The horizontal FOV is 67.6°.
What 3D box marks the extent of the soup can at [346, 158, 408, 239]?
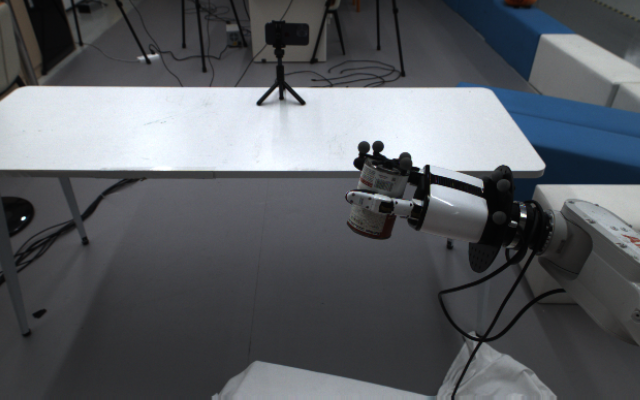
[{"bbox_3d":[0.084,-0.003,0.700,0.067,0.101,0.067,13,18,-4],"label":"soup can"}]
